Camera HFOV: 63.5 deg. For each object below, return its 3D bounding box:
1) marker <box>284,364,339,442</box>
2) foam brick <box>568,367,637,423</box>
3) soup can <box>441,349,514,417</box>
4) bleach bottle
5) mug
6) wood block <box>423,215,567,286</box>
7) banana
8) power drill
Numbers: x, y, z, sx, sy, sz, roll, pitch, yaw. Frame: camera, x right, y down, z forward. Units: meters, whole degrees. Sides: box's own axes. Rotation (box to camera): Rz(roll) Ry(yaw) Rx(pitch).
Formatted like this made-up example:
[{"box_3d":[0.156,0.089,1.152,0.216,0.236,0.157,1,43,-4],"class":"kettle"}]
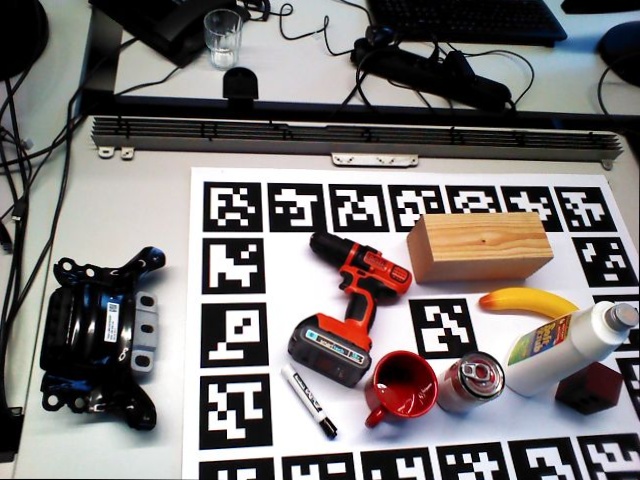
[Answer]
[{"box_3d":[-0.012,0.231,0.734,0.019,0.020,0.121,-28,69,-19],"class":"marker"},{"box_3d":[0.417,0.228,0.765,0.053,0.078,0.051,29,59,10],"class":"foam brick"},{"box_3d":[0.217,0.203,0.727,0.068,0.102,0.067,5,56,-8],"class":"soup can"},{"box_3d":[0.347,0.144,0.700,0.068,0.252,0.102,26,59,7],"class":"bleach bottle"},{"box_3d":[0.108,0.213,0.722,0.093,0.082,0.116,39,66,11],"class":"mug"},{"box_3d":[0.278,0.016,0.856,0.206,0.091,0.089,0,62,-9],"class":"wood block"},{"box_3d":[0.361,0.105,0.844,0.197,0.039,0.074,15,73,-2],"class":"banana"},{"box_3d":[0.049,0.094,0.801,0.185,0.058,0.185,27,59,3],"class":"power drill"}]
